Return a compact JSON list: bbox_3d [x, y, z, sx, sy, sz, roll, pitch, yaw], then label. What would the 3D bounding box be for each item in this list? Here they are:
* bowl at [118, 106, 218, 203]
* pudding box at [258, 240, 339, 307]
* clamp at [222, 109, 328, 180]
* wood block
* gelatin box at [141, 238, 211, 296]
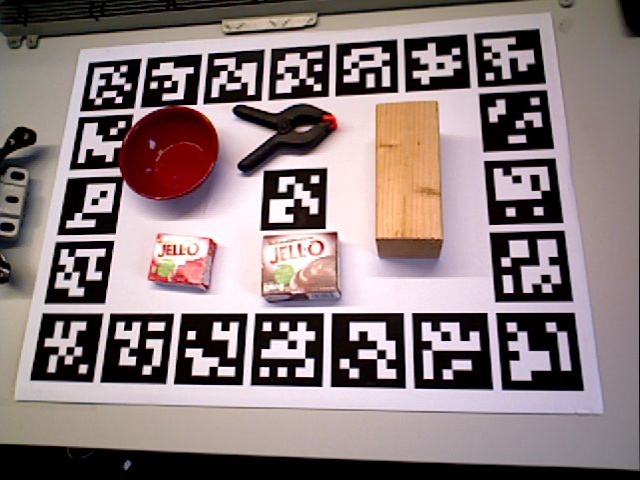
[{"bbox_3d":[-0.231,-0.125,0.852,0.161,0.055,0.161,-2,75,7],"label":"bowl"},{"bbox_3d":[-0.029,0.049,0.768,0.114,0.039,0.089,-2,76,11],"label":"pudding box"},{"bbox_3d":[-0.068,-0.162,0.849,0.165,0.037,0.121,-10,71,4],"label":"clamp"},{"bbox_3d":[0.129,-0.071,0.752,0.090,0.092,0.205,3,73,8],"label":"wood block"},{"bbox_3d":[-0.213,0.039,0.803,0.089,0.030,0.073,7,75,11],"label":"gelatin box"}]
